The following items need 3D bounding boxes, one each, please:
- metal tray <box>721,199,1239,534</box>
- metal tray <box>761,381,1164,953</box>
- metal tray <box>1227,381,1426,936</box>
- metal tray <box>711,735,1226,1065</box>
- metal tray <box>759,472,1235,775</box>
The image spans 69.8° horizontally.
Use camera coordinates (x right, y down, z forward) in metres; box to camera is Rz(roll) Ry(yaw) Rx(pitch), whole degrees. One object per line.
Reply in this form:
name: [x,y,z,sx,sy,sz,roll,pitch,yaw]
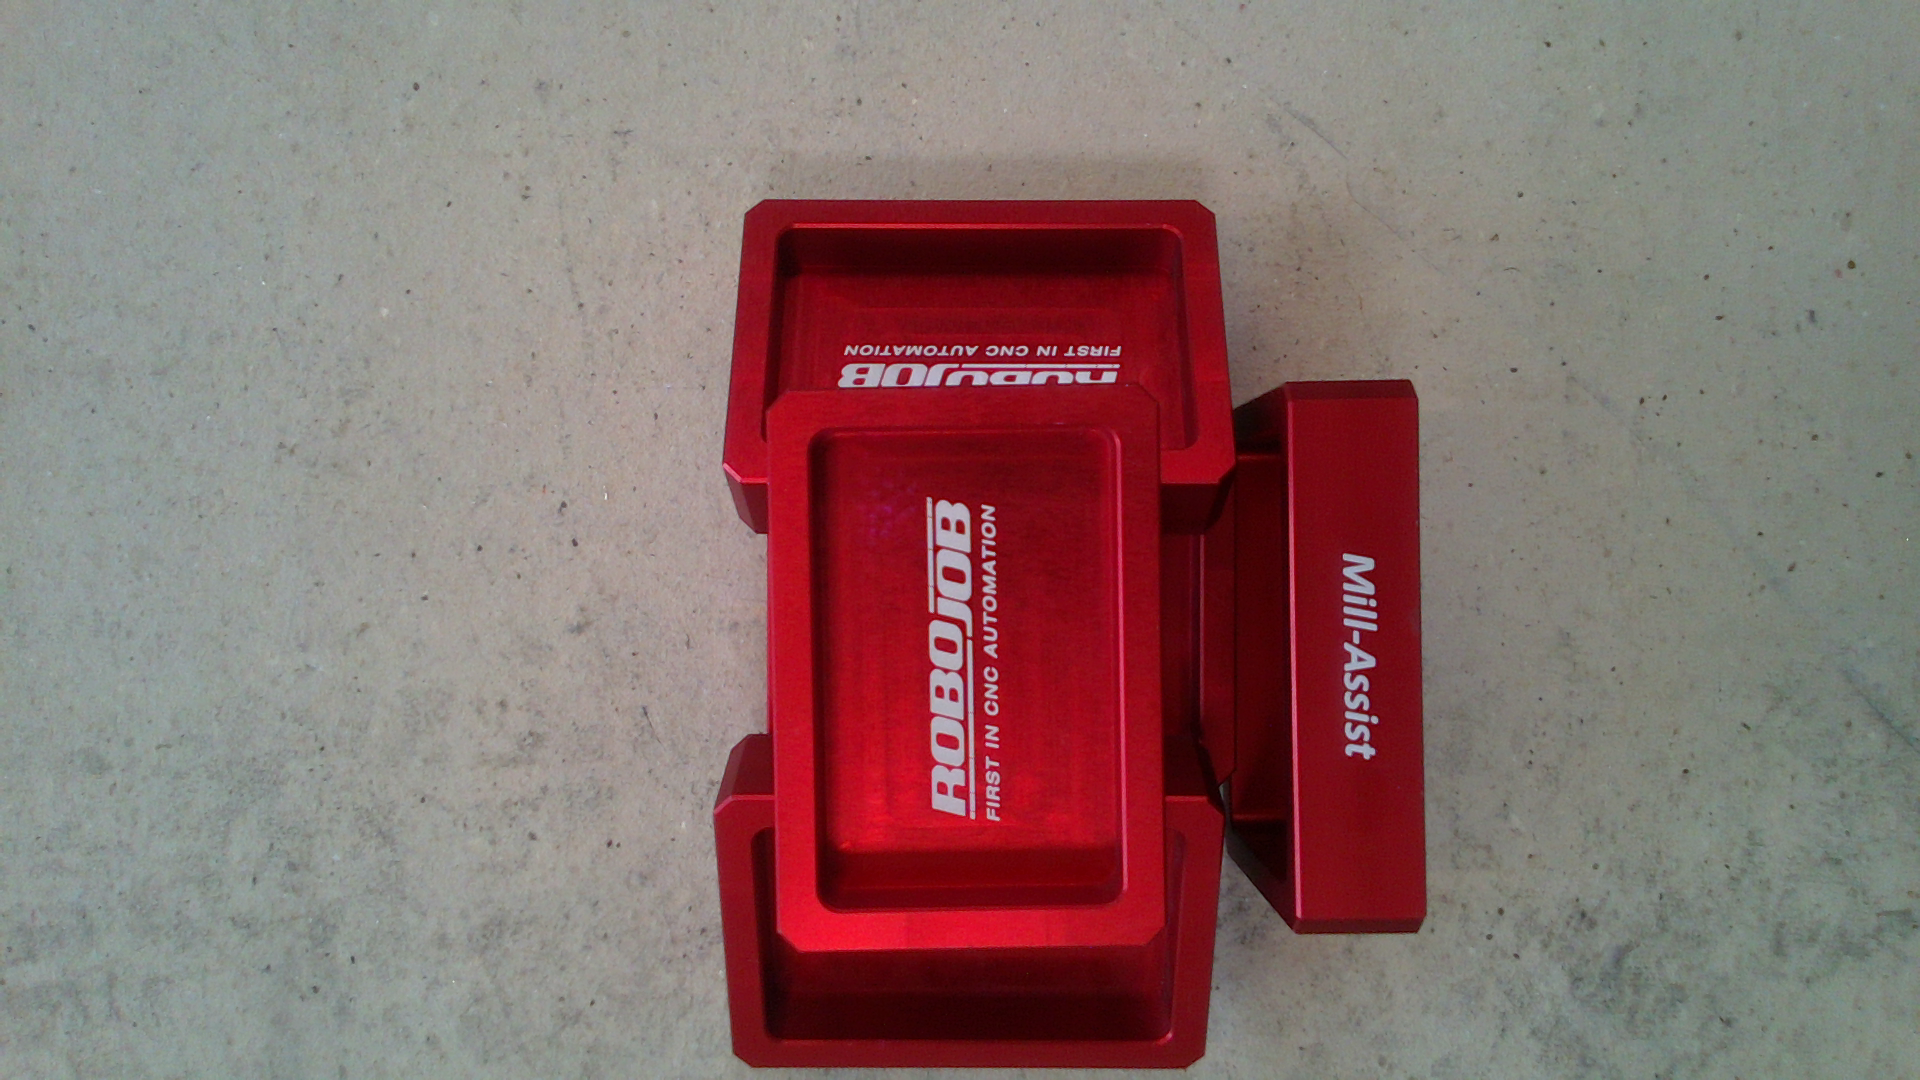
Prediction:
metal tray: [0.005,-0.048,0.376,0.130,0.030,0.090,0,63,-1]
metal tray: [0.001,0.029,0.328,0.090,0.030,0.130,-1,93,0]
metal tray: [0.093,0.028,0.363,0.030,0.090,0.130,-1,91,0]
metal tray: [0.002,0.099,0.376,0.130,0.030,0.090,0,115,0]
metal tray: [0.010,0.022,0.391,0.130,0.030,0.090,-1,92,0]
